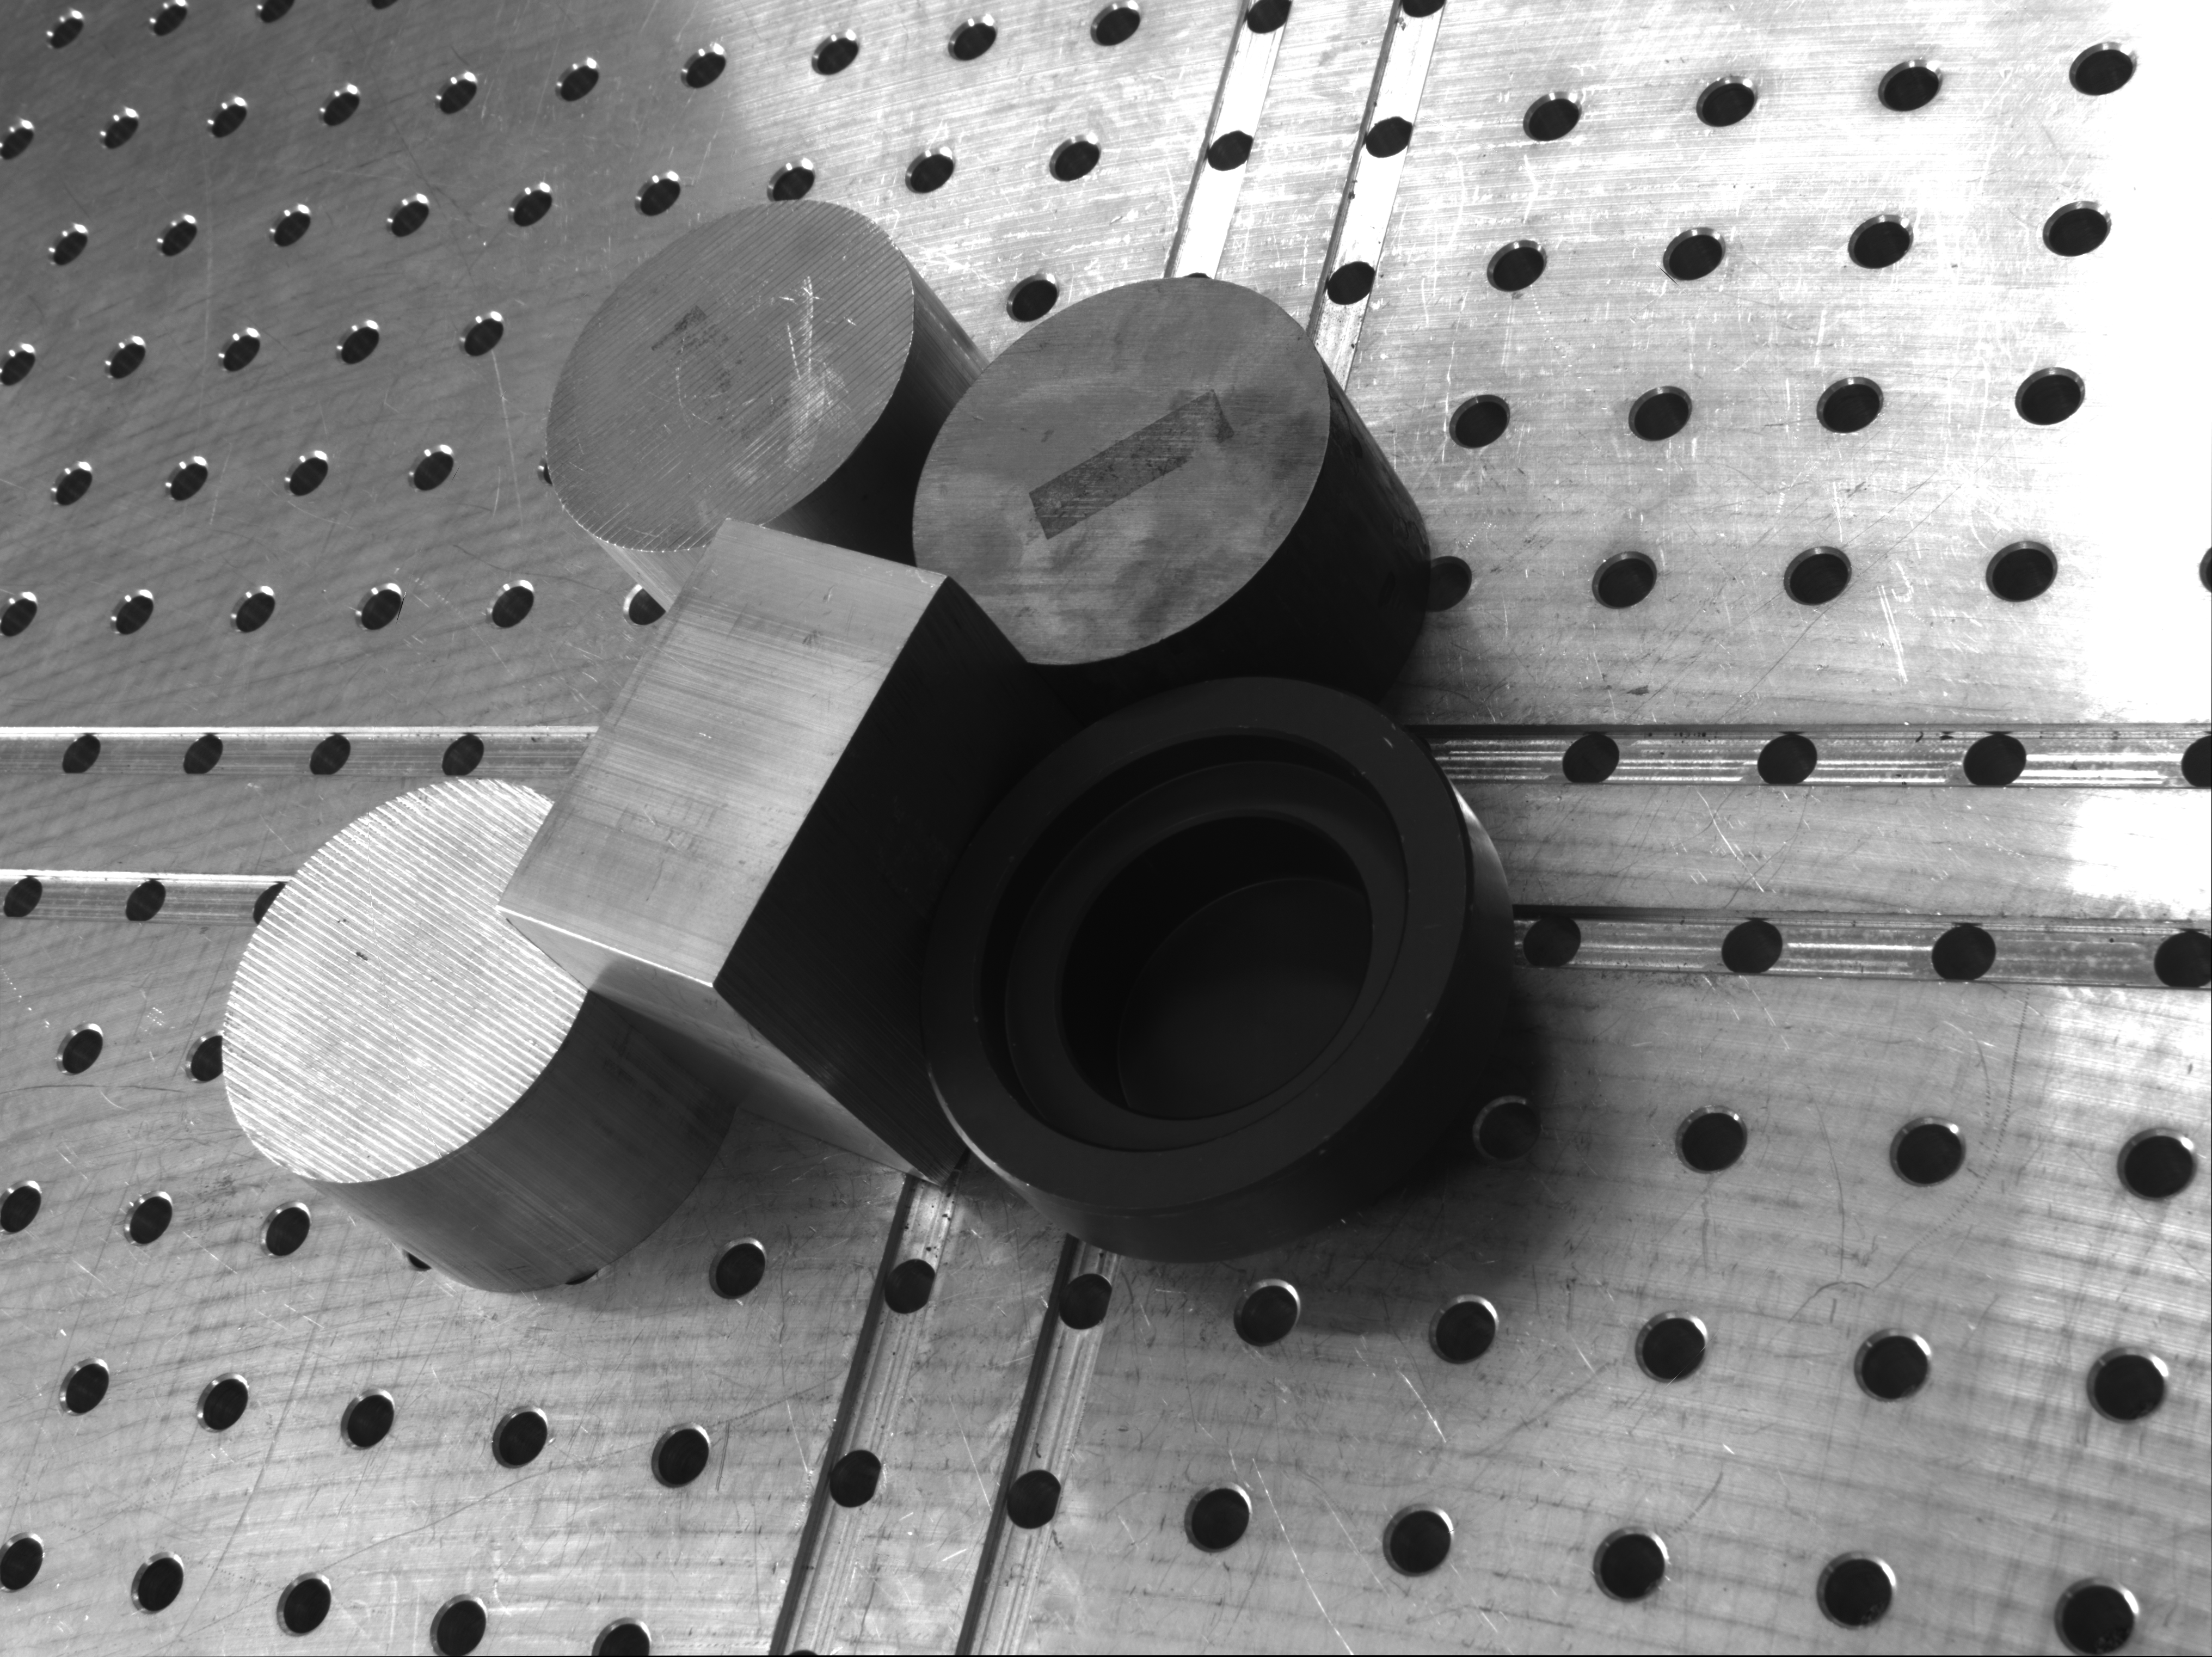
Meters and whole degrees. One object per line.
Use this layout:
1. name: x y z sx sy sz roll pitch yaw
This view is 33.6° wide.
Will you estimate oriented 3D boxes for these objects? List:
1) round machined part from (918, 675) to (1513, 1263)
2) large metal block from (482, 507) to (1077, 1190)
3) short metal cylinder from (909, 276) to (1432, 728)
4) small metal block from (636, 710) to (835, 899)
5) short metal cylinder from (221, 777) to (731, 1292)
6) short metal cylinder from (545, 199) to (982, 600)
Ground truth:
1. round machined part: 0.022 0.027 0.608 0.098 0.042 0.098 -13 56 21
2. large metal block: -0.048 0.004 0.632 0.050 0.080 0.080 17 70 35
3. short metal cylinder: 0.012 -0.051 0.657 0.080 0.050 0.080 -14 56 21
4. small metal block: -0.068 -0.008 0.689 0.050 0.025 0.050 16 70 35
5. short metal cylinder: -0.113 0.038 0.669 0.080 0.050 0.080 -14 56 21
6. short metal cylinder: -0.061 -0.074 0.710 0.080 0.050 0.080 -14 56 21
